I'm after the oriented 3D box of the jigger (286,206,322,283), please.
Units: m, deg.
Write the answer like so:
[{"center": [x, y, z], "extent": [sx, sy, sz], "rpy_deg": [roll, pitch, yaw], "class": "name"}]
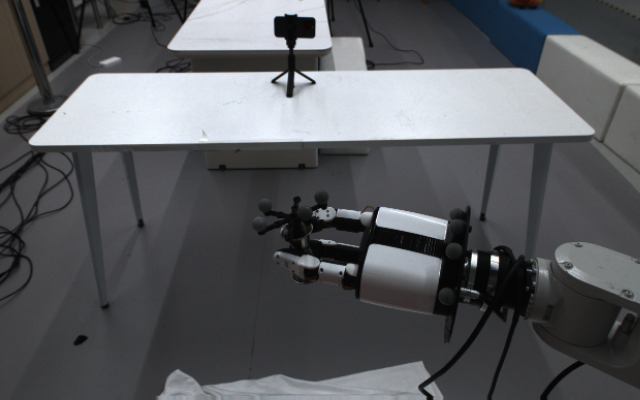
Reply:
[{"center": [-0.021, 0.063, 0.597], "extent": [0.043, 0.071, 0.043], "rpy_deg": [-10, 32, 6], "class": "jigger"}]
